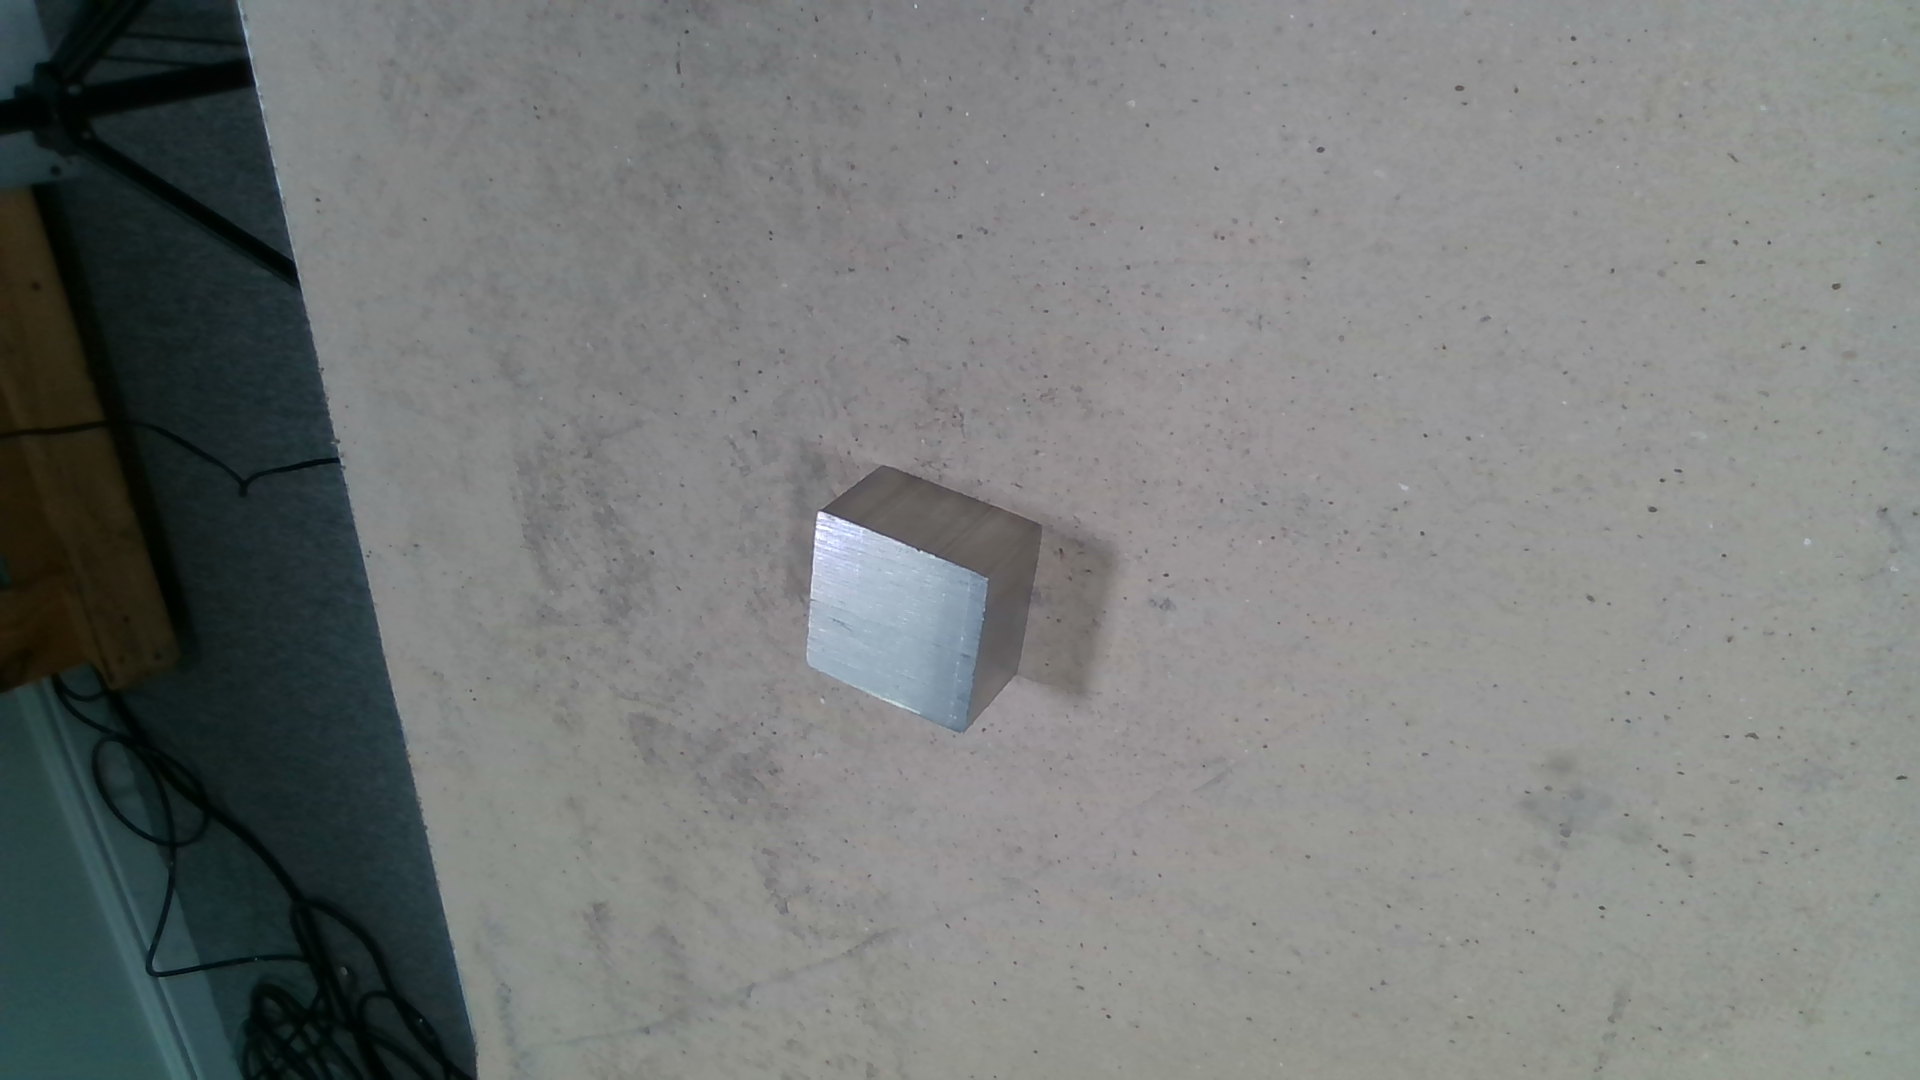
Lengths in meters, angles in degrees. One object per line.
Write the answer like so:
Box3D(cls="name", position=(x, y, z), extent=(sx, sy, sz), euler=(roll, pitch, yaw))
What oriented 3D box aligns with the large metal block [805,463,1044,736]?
Box3D(cls="large metal block", position=(-0.017, 0.024, 0.587), extent=(0.080, 0.050, 0.080), euler=(21, 124, 21))
